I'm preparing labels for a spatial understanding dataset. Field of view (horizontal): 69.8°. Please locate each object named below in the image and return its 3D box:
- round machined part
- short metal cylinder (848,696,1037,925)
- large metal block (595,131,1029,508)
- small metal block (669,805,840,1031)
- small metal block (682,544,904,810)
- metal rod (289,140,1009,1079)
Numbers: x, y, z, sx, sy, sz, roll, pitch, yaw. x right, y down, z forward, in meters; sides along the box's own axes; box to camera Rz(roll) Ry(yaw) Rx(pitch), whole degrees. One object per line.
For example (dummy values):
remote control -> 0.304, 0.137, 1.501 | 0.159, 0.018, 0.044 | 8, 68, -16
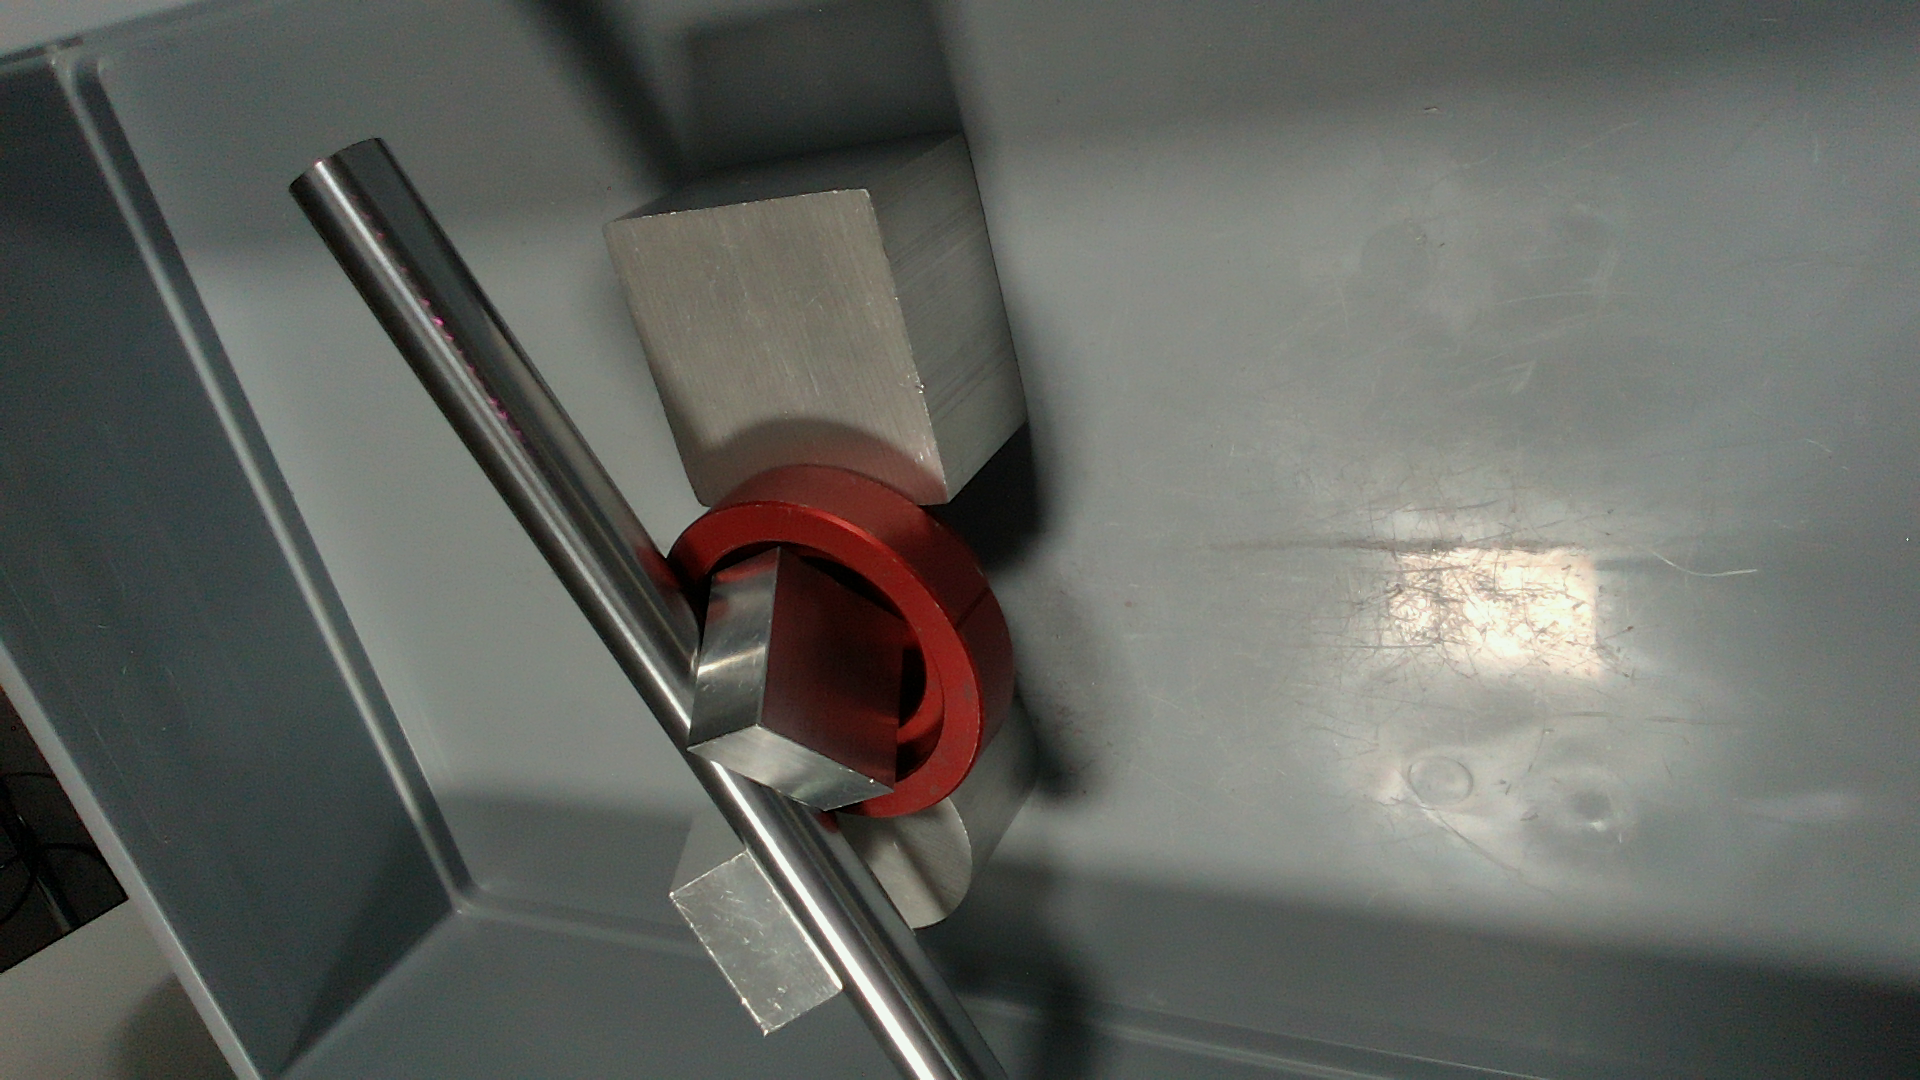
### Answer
round machined part -> -0.030, 0.023, 0.373 | 0.098, 0.042, 0.098 | 13, 124, 21
short metal cylinder -> -0.022, 0.074, 0.434 | 0.080, 0.050, 0.080 | 13, 124, 21
large metal block -> -0.036, -0.055, 0.359 | 0.080, 0.050, 0.080 | 0, 118, 28
small metal block -> -0.057, 0.105, 0.404 | 0.025, 0.050, 0.050 | -30, 103, 4
small metal block -> -0.042, 0.037, 0.358 | 0.025, 0.050, 0.050 | -21, 142, 33
metal rod -> -0.072, 0.036, 0.362 | 0.025, 0.025, 0.300 | -21, 108, 36
